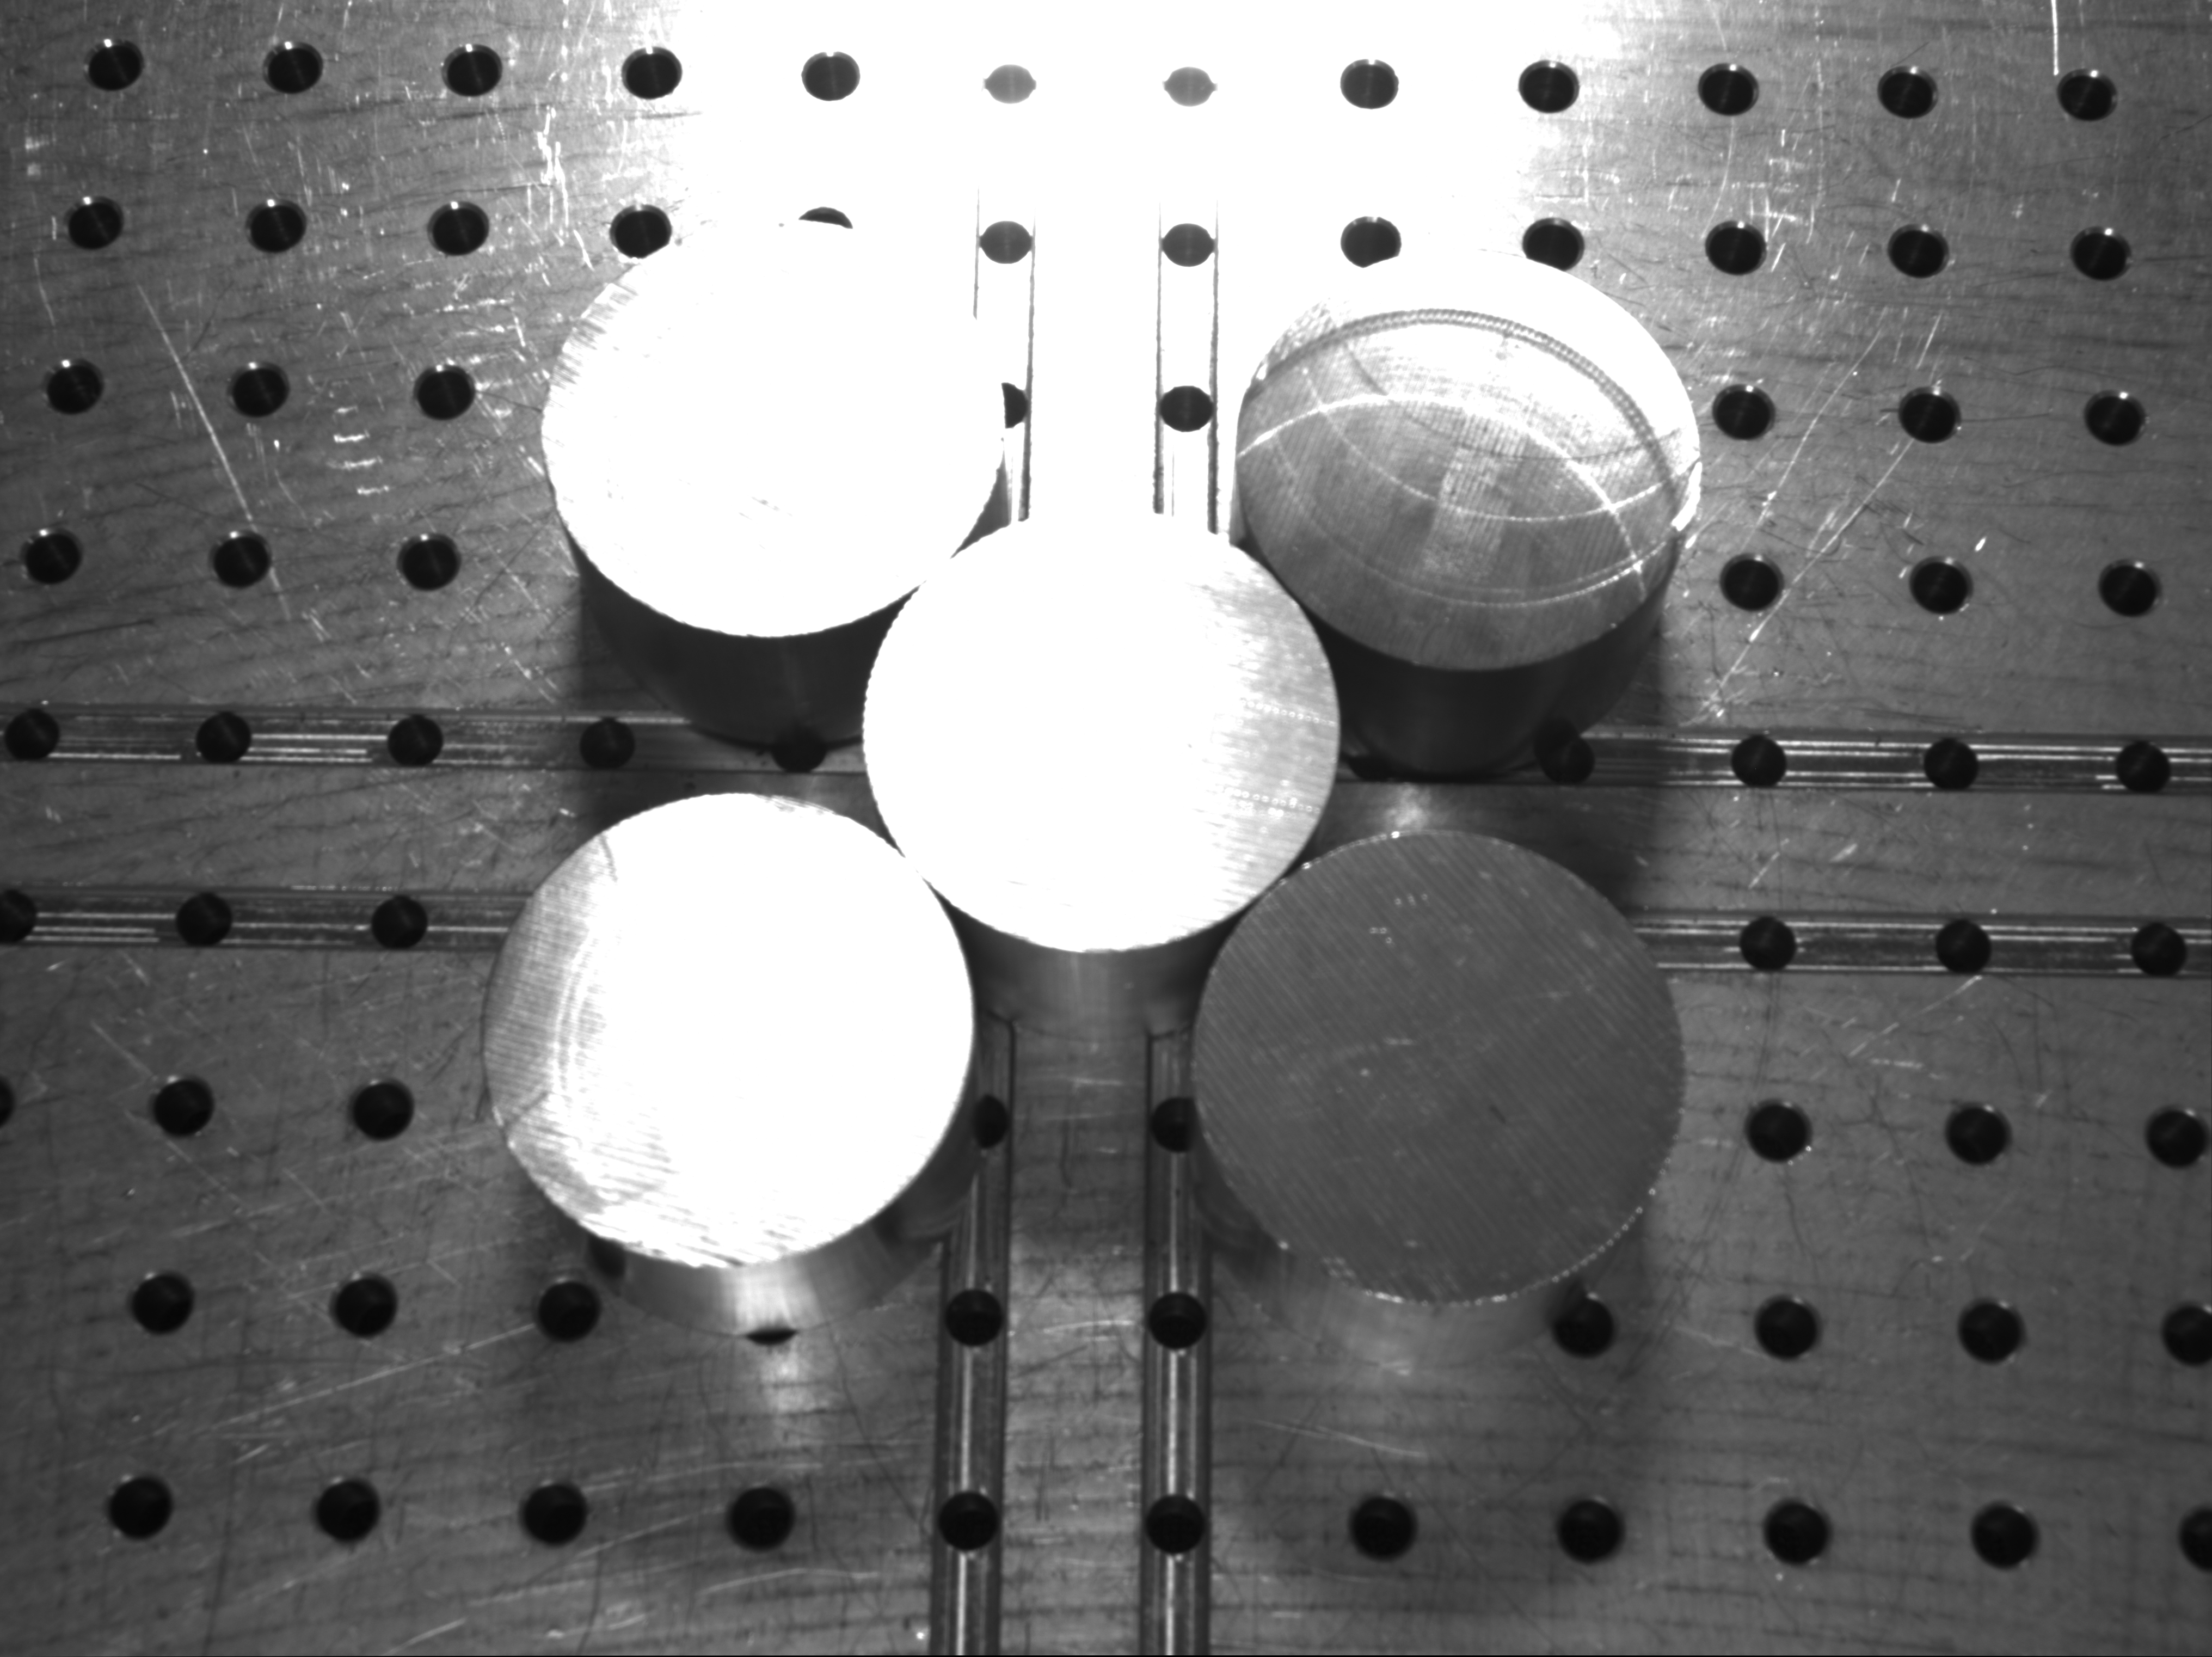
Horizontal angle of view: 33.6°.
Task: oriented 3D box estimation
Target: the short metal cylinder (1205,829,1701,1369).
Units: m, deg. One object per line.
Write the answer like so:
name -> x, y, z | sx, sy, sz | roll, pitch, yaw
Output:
short metal cylinder -> 0.056, 0.046, 0.616 | 0.080, 0.050, 0.080 | 0, 70, 0

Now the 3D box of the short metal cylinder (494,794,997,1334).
short metal cylinder -> -0.059, 0.040, 0.618 | 0.080, 0.050, 0.080 | 0, 70, 0

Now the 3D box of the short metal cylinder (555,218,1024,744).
short metal cylinder -> -0.055, -0.062, 0.656 | 0.080, 0.050, 0.080 | 0, 70, 0

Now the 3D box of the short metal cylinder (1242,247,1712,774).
short metal cylinder -> 0.064, -0.056, 0.652 | 0.080, 0.050, 0.080 | 0, 70, 0

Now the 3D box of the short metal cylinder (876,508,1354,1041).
short metal cylinder -> 0.002, -0.009, 0.637 | 0.080, 0.050, 0.080 | 0, 70, 0
